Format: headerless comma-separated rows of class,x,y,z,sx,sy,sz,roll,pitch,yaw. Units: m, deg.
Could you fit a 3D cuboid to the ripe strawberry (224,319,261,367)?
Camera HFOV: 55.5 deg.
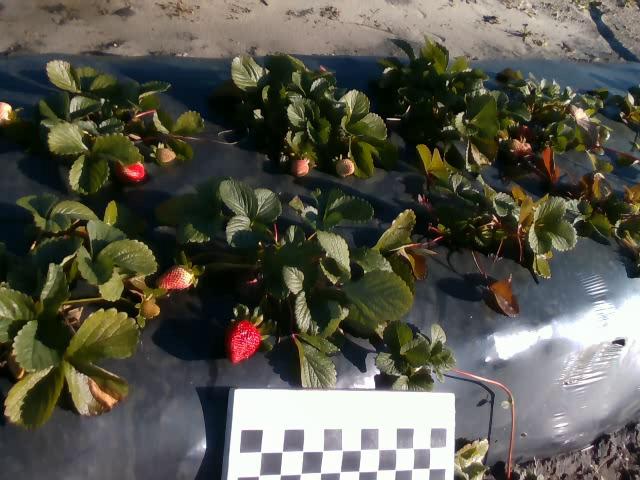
ripe strawberry,-0.091,0.112,0.652,0.058,0.066,0.062,-38,12,3
